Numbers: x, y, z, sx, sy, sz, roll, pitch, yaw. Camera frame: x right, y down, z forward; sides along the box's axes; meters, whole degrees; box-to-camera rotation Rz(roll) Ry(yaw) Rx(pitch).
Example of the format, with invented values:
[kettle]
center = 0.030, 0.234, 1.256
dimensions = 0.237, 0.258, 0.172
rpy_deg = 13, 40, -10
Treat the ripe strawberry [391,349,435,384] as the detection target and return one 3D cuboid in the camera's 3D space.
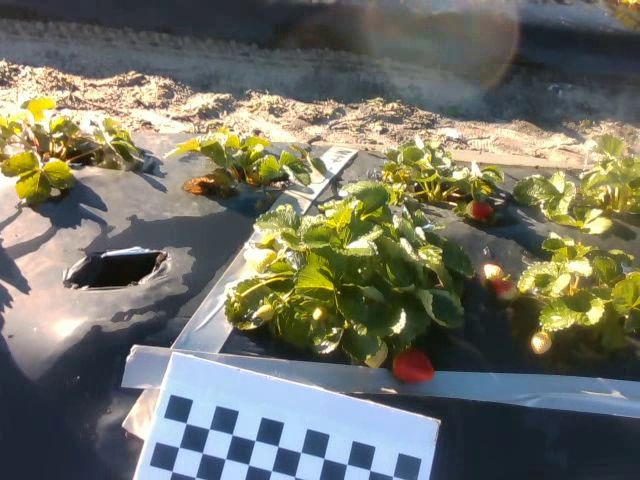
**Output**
[ripe strawberry]
center = 0.106, 0.143, 0.679
dimensions = 0.048, 0.045, 0.063
rpy_deg = 43, -10, -22
